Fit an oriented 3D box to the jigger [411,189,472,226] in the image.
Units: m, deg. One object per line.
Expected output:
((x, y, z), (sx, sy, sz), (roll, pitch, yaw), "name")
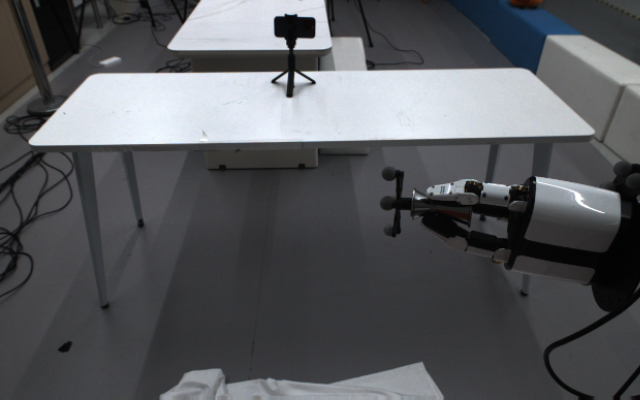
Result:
((0.151, 0.003, 0.574), (0.071, 0.043, 0.043), (3, 34, 15), "jigger")
